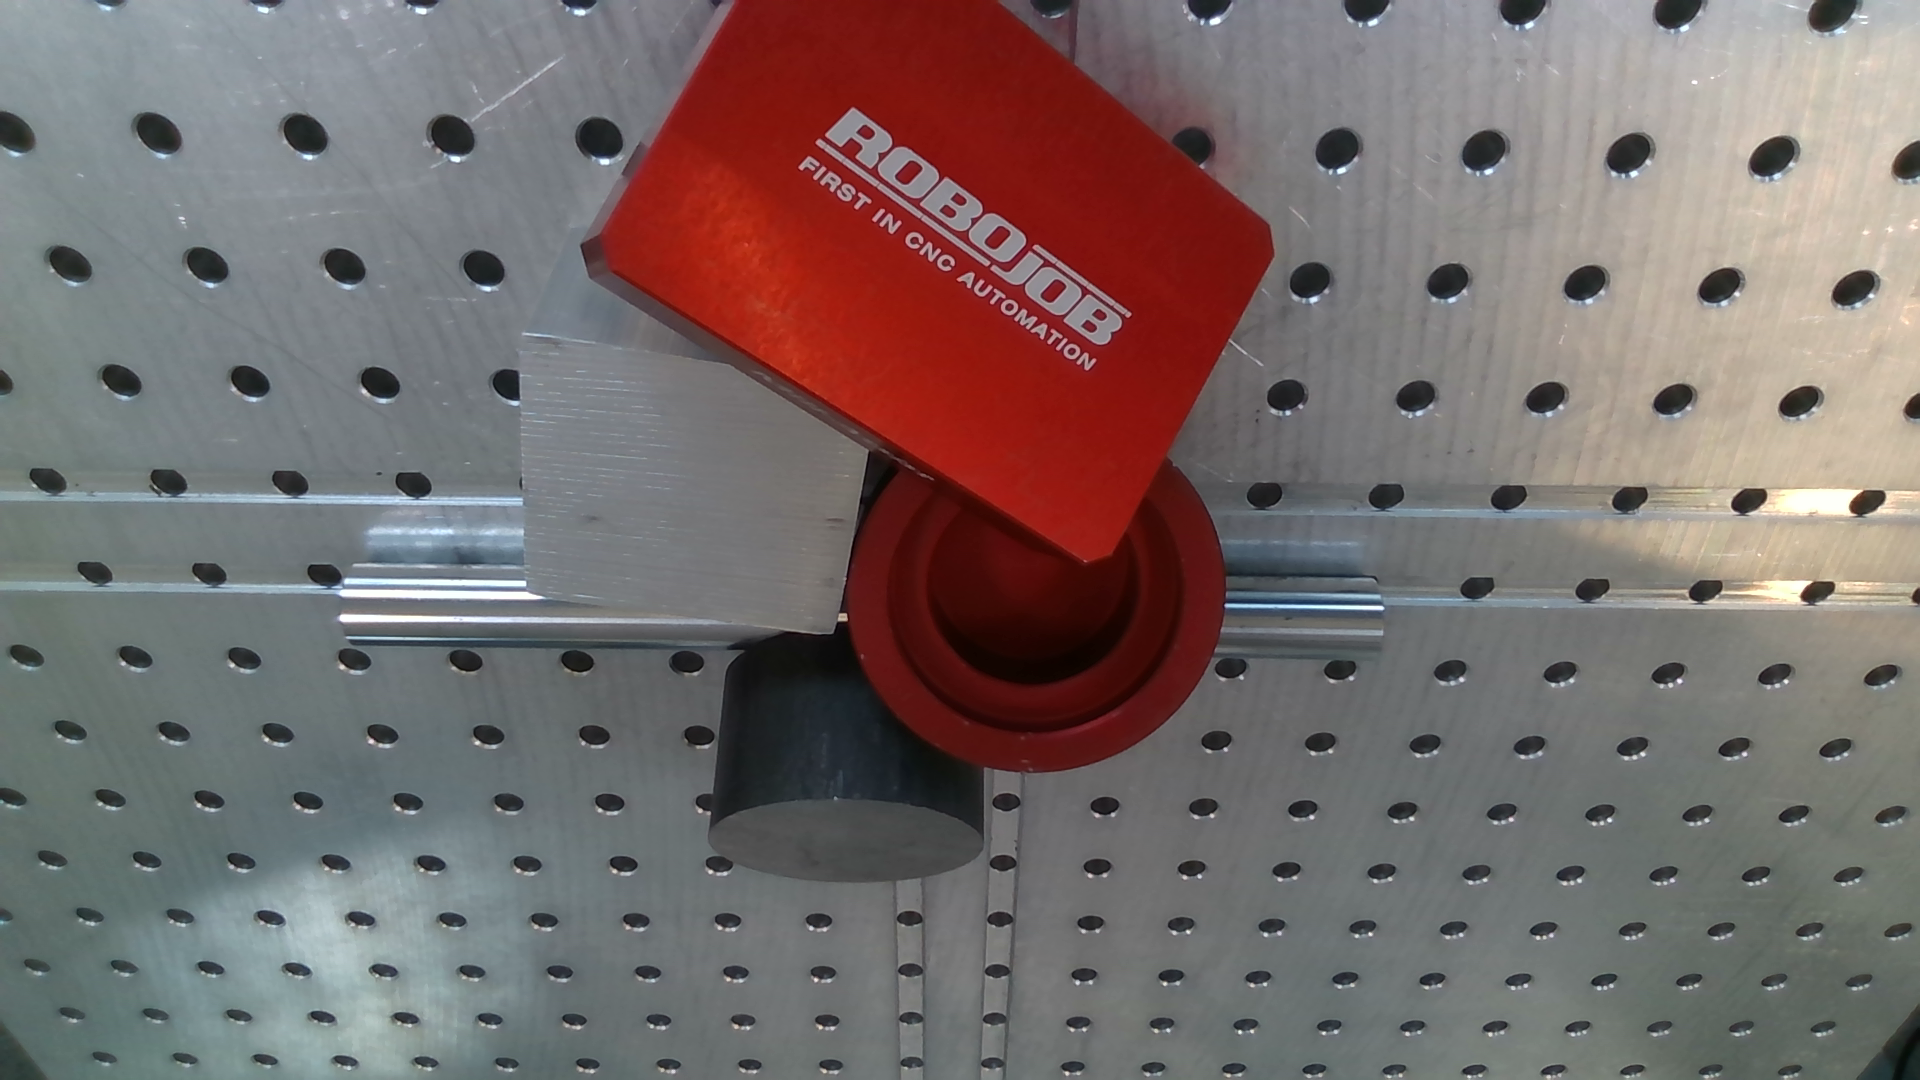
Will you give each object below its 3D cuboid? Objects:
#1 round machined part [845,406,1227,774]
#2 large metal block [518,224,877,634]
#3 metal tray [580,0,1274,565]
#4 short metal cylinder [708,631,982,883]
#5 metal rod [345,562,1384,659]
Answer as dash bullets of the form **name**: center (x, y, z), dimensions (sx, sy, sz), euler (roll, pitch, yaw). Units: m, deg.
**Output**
- **round machined part**: center (0.019, 0.010, 0.372), dimensions (0.098, 0.042, 0.098), euler (0, 105, -1)
- **large metal block**: center (-0.065, -0.027, 0.353), dimensions (0.080, 0.050, 0.080), euler (8, 130, -7)
- **metal tray**: center (-0.003, -0.064, 0.303), dimensions (0.130, 0.030, 0.090), euler (31, 85, -23)
- **short metal cylinder**: center (-0.033, 0.068, 0.416), dimensions (0.080, 0.050, 0.080), euler (0, 150, 0)
- **metal rod**: center (-0.027, 0.021, 0.410), dimensions (0.300, 0.025, 0.025), euler (1, 130, -1)
